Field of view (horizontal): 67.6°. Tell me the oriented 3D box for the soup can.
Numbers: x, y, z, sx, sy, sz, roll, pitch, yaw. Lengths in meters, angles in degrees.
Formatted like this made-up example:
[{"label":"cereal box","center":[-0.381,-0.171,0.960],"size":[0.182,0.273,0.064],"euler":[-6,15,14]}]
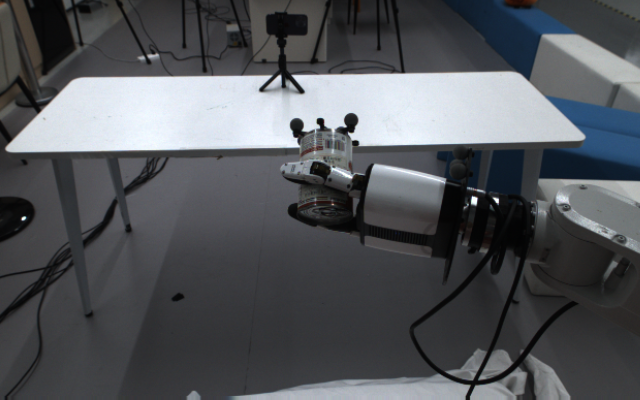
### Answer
[{"label":"soup can","center":[0.008,-0.028,0.590],"size":[0.067,0.067,0.101],"euler":[1,68,-1]}]
